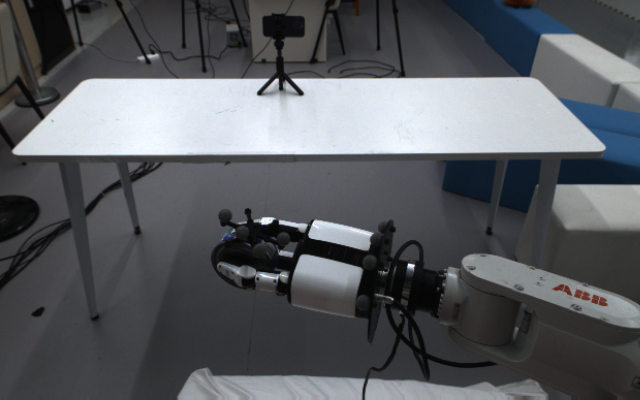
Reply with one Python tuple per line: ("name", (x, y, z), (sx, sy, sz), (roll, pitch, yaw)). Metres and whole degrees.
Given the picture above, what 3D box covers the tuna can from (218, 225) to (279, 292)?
("tuna can", (-0.098, 0.079, 0.650), (0.085, 0.085, 0.034), (9, 35, 10))
